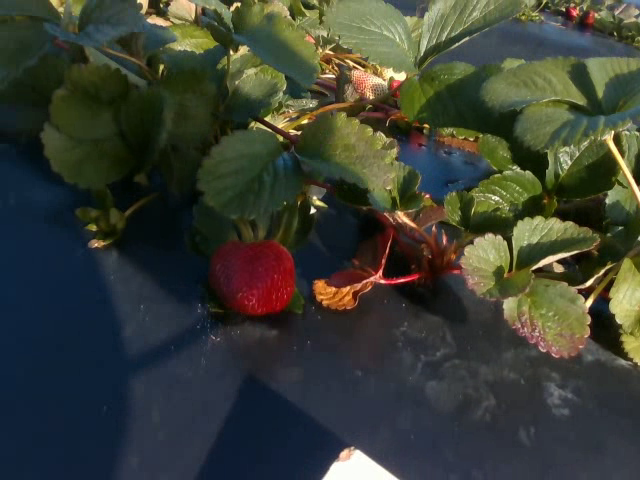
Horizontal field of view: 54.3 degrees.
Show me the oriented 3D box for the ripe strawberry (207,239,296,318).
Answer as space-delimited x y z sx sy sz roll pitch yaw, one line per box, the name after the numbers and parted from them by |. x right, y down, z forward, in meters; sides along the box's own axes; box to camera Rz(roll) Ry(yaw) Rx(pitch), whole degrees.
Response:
-0.030 0.016 0.251 0.040 0.041 0.056 -20 14 5 | ripe strawberry
